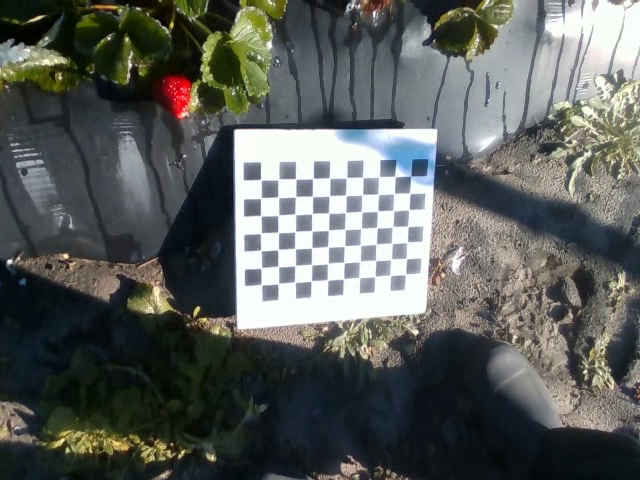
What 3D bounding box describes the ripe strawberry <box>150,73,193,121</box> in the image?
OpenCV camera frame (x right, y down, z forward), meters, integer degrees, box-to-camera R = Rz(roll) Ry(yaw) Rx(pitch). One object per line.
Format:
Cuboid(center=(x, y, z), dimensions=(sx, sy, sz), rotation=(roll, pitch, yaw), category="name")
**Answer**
Cuboid(center=(-0.141, -0.139, 0.621), dimensions=(0.041, 0.053, 0.047), rotation=(-10, -22, -15), category="ripe strawberry")
